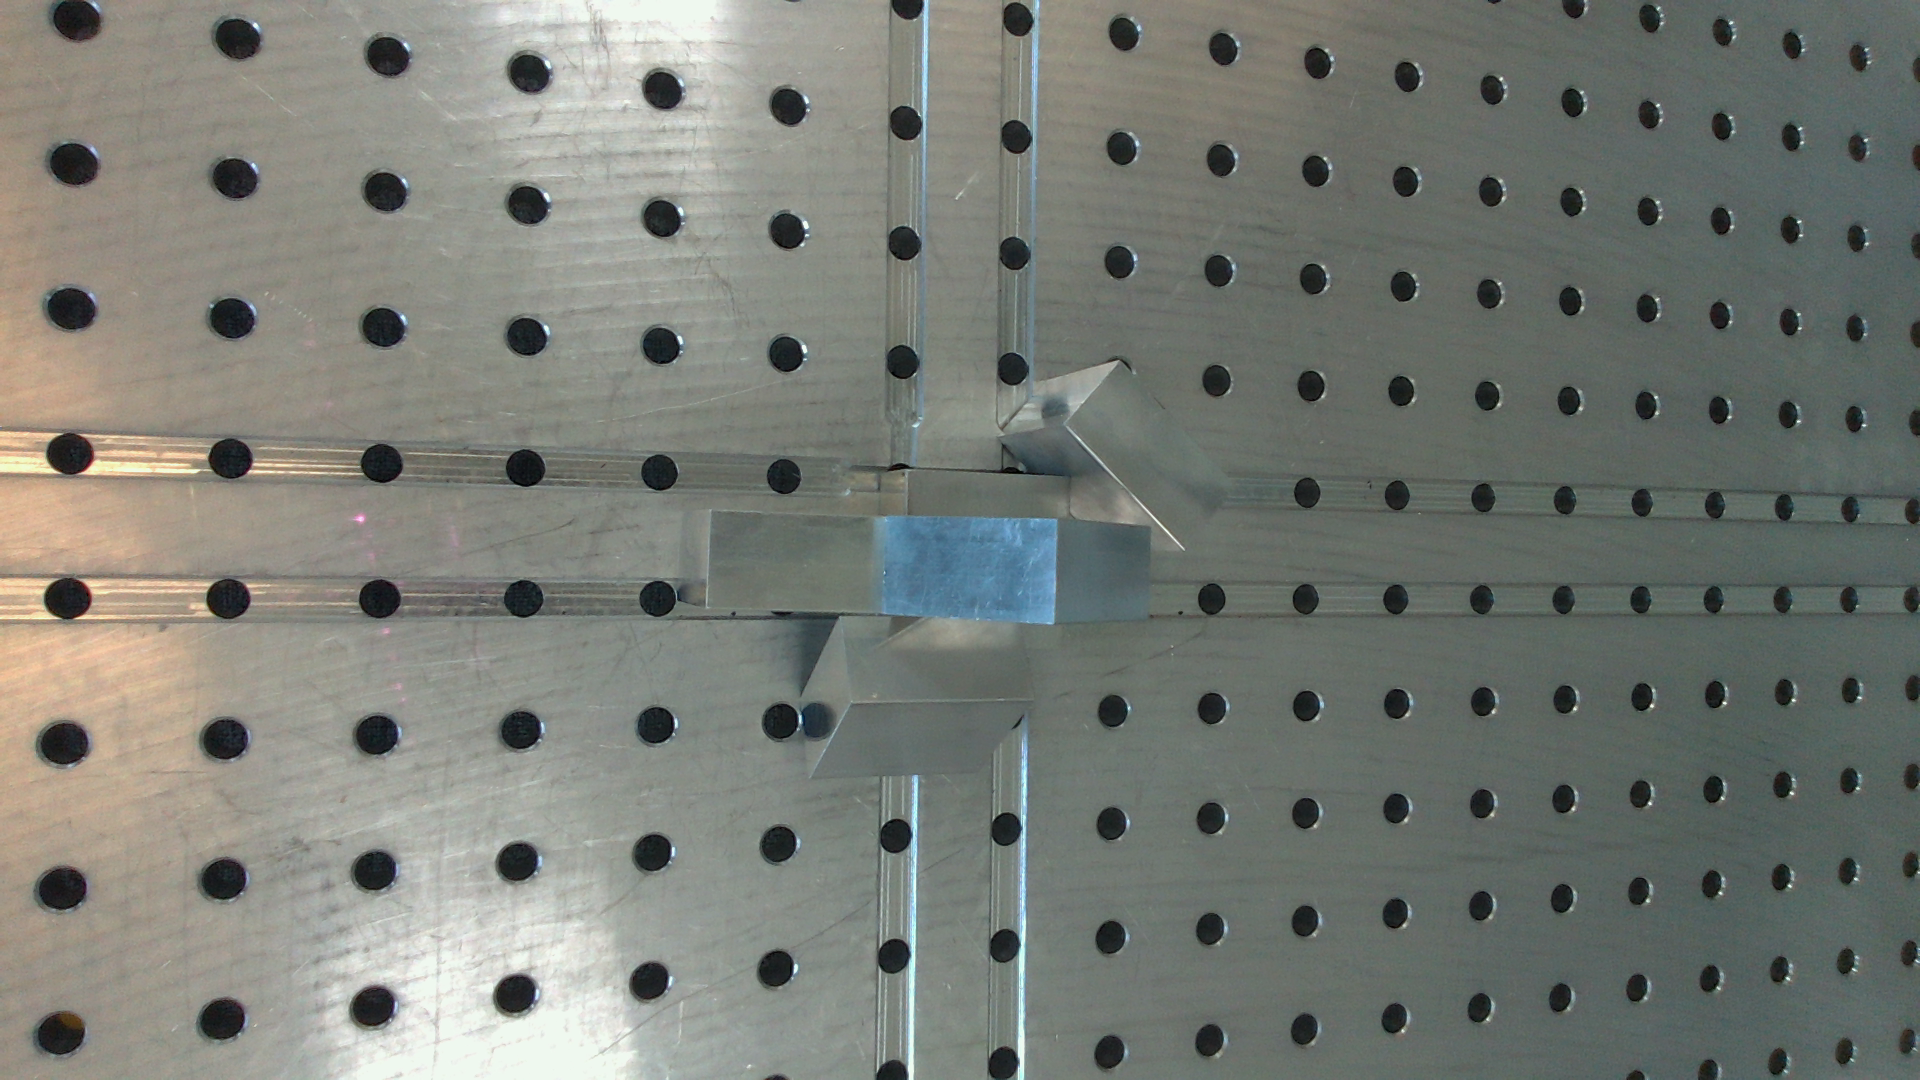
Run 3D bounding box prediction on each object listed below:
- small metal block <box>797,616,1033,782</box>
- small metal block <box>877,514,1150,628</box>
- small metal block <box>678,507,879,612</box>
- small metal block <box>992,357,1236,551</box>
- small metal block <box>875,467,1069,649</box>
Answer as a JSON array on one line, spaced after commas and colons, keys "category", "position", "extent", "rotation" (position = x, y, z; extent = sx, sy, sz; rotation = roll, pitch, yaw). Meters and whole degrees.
[{"category": "small metal block", "position": [-0.014, 0.044, 0.375], "extent": [0.050, 0.050, 0.025], "rotation": [1, 58, -20]}, {"category": "small metal block", "position": [0.014, 0.008, 0.350], "extent": [0.050, 0.050, 0.025], "rotation": [3, 89, -57]}, {"category": "small metal block", "position": [-0.047, 0.005, 0.365], "extent": [0.050, 0.050, 0.025], "rotation": [2, 90, -19]}, {"category": "small metal block", "position": [0.043, -0.023, 0.398], "extent": [0.050, 0.050, 0.025], "rotation": [45, 76, -15]}, {"category": "small metal block", "position": [0.003, 0.006, 0.397], "extent": [0.050, 0.025, 0.050], "rotation": [2, 89, -21]}]
